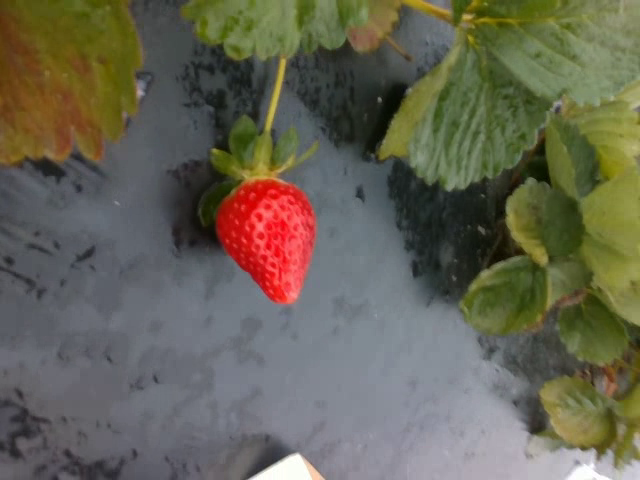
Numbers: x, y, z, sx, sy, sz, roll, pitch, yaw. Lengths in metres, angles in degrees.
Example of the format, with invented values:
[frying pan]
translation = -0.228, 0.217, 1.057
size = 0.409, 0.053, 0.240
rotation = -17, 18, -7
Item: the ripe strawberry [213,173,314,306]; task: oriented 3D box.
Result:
[ripe strawberry]
translation = -0.017, 0.000, 0.215
size = 0.045, 0.054, 0.048
rotation = 1, -10, -27
